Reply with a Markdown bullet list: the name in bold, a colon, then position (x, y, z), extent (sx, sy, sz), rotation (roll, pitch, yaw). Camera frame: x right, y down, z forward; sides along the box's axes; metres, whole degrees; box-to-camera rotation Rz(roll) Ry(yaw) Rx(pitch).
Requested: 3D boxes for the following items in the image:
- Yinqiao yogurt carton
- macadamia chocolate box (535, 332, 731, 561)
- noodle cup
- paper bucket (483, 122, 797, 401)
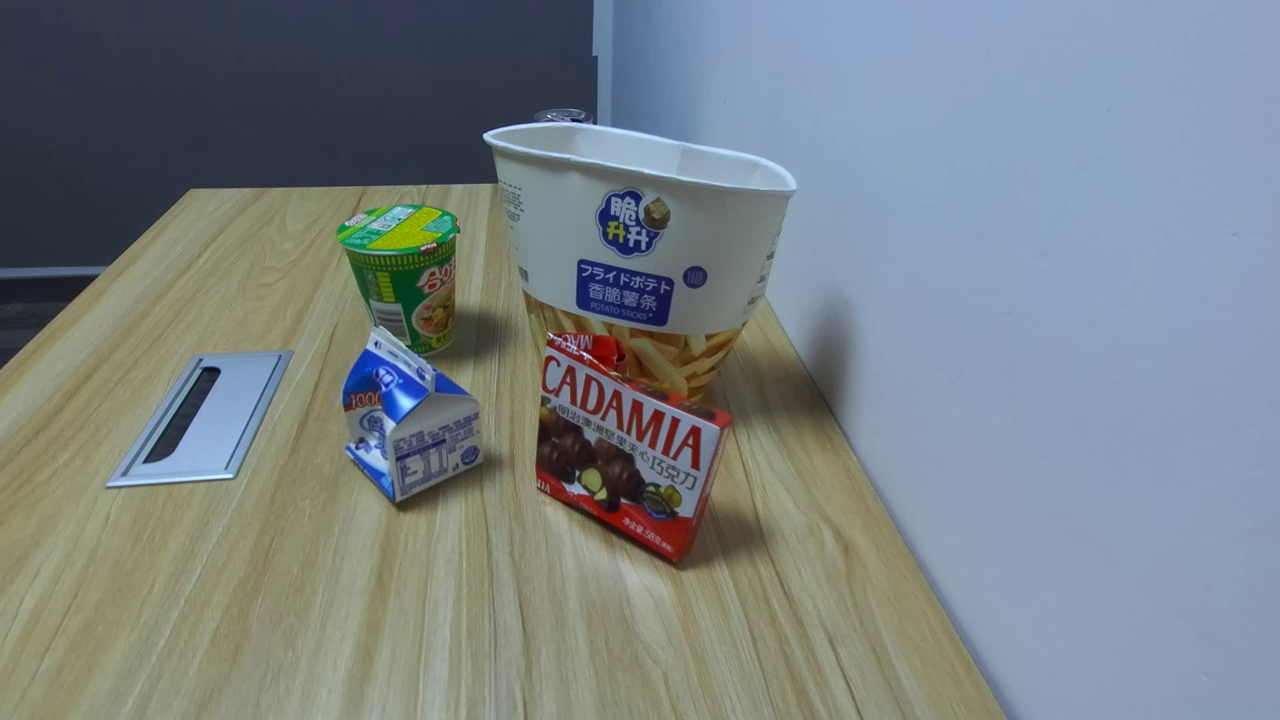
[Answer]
- **Yinqiao yogurt carton**: position (-0.160, 0.032, 0.491), extent (0.077, 0.094, 0.071), rotation (31, 36, 34)
- **macadamia chocolate box**: position (-0.009, 0.052, 0.450), extent (0.126, 0.112, 0.056), rotation (24, 39, 30)
- **noodle cup**: position (-0.202, -0.064, 0.613), extent (0.097, 0.110, 0.097), rotation (2, 33, -1)
- **paper bucket**: position (-0.010, -0.071, 0.550), extent (0.218, 0.199, 0.147), rotation (0, 34, -4)
